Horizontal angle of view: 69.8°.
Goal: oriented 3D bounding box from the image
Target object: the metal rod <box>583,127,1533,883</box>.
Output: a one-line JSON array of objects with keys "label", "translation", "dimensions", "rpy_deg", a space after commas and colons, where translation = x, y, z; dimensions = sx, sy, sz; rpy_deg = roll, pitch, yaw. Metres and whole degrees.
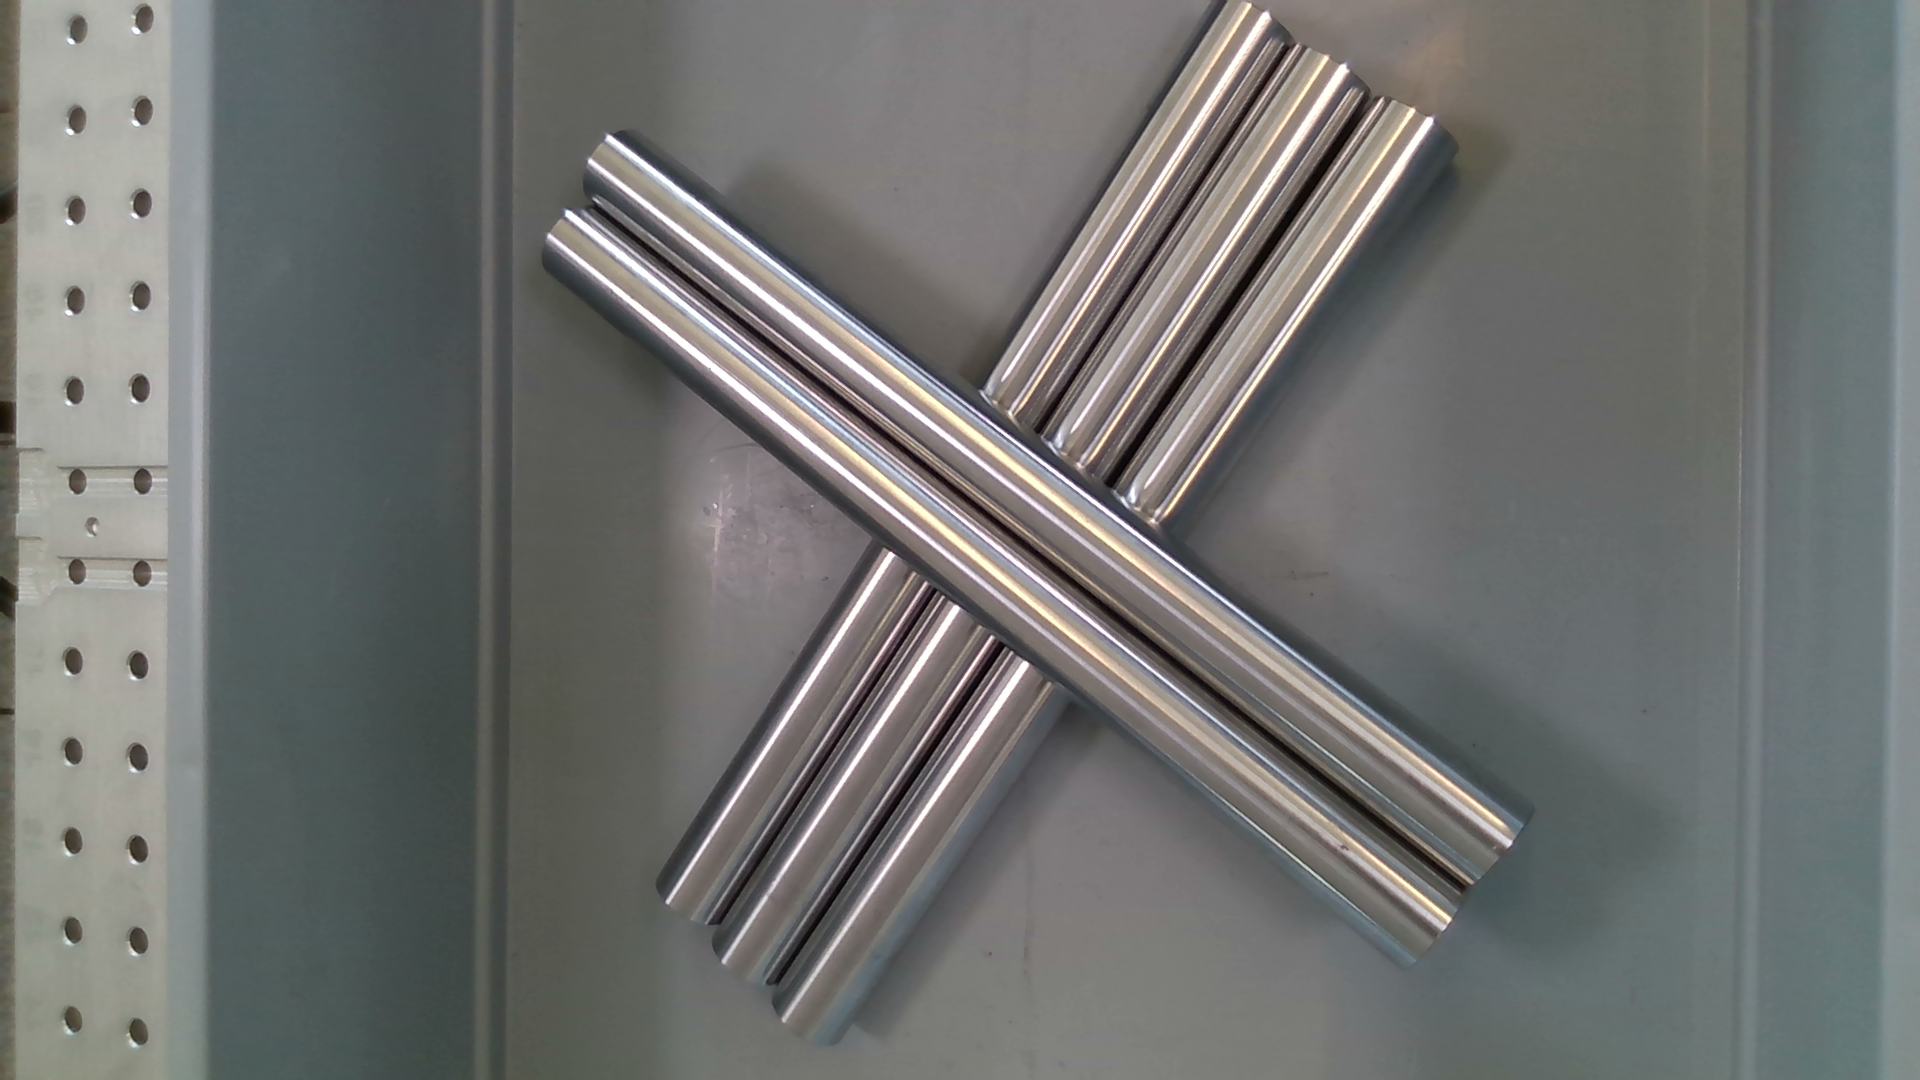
[{"label": "metal rod", "translation": [0.012, -0.020, 0.361], "dimensions": [0.300, 0.025, 0.025], "rpy_deg": [38, 103, 16]}]

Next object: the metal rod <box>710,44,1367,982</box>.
[{"label": "metal rod", "translation": [0.015, 0.002, 0.387], "dimensions": [0.025, 0.025, 0.300], "rpy_deg": [36, 102, 16]}]

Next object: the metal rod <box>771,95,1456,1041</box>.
[{"label": "metal rod", "translation": [0.035, 0.017, 0.380], "dimensions": [0.025, 0.025, 0.300], "rpy_deg": [37, 102, 16]}]

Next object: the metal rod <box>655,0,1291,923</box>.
[{"label": "metal rod", "translation": [-0.003, -0.014, 0.394], "dimensions": [0.025, 0.025, 0.300], "rpy_deg": [36, 102, 16]}]

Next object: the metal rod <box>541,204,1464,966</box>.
[{"label": "metal rod", "translation": [-0.001, 0.001, 0.367], "dimensions": [0.300, 0.025, 0.025], "rpy_deg": [38, 103, 16]}]
